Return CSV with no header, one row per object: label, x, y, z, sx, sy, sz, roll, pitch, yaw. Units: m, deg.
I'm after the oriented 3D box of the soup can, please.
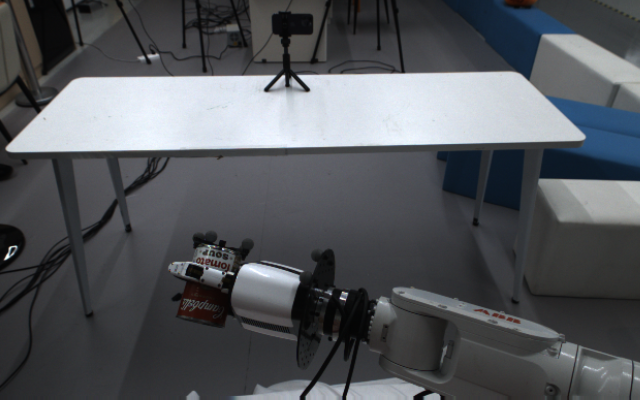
soup can,-0.152,0.120,0.669,0.067,0.067,0.101,8,71,9
